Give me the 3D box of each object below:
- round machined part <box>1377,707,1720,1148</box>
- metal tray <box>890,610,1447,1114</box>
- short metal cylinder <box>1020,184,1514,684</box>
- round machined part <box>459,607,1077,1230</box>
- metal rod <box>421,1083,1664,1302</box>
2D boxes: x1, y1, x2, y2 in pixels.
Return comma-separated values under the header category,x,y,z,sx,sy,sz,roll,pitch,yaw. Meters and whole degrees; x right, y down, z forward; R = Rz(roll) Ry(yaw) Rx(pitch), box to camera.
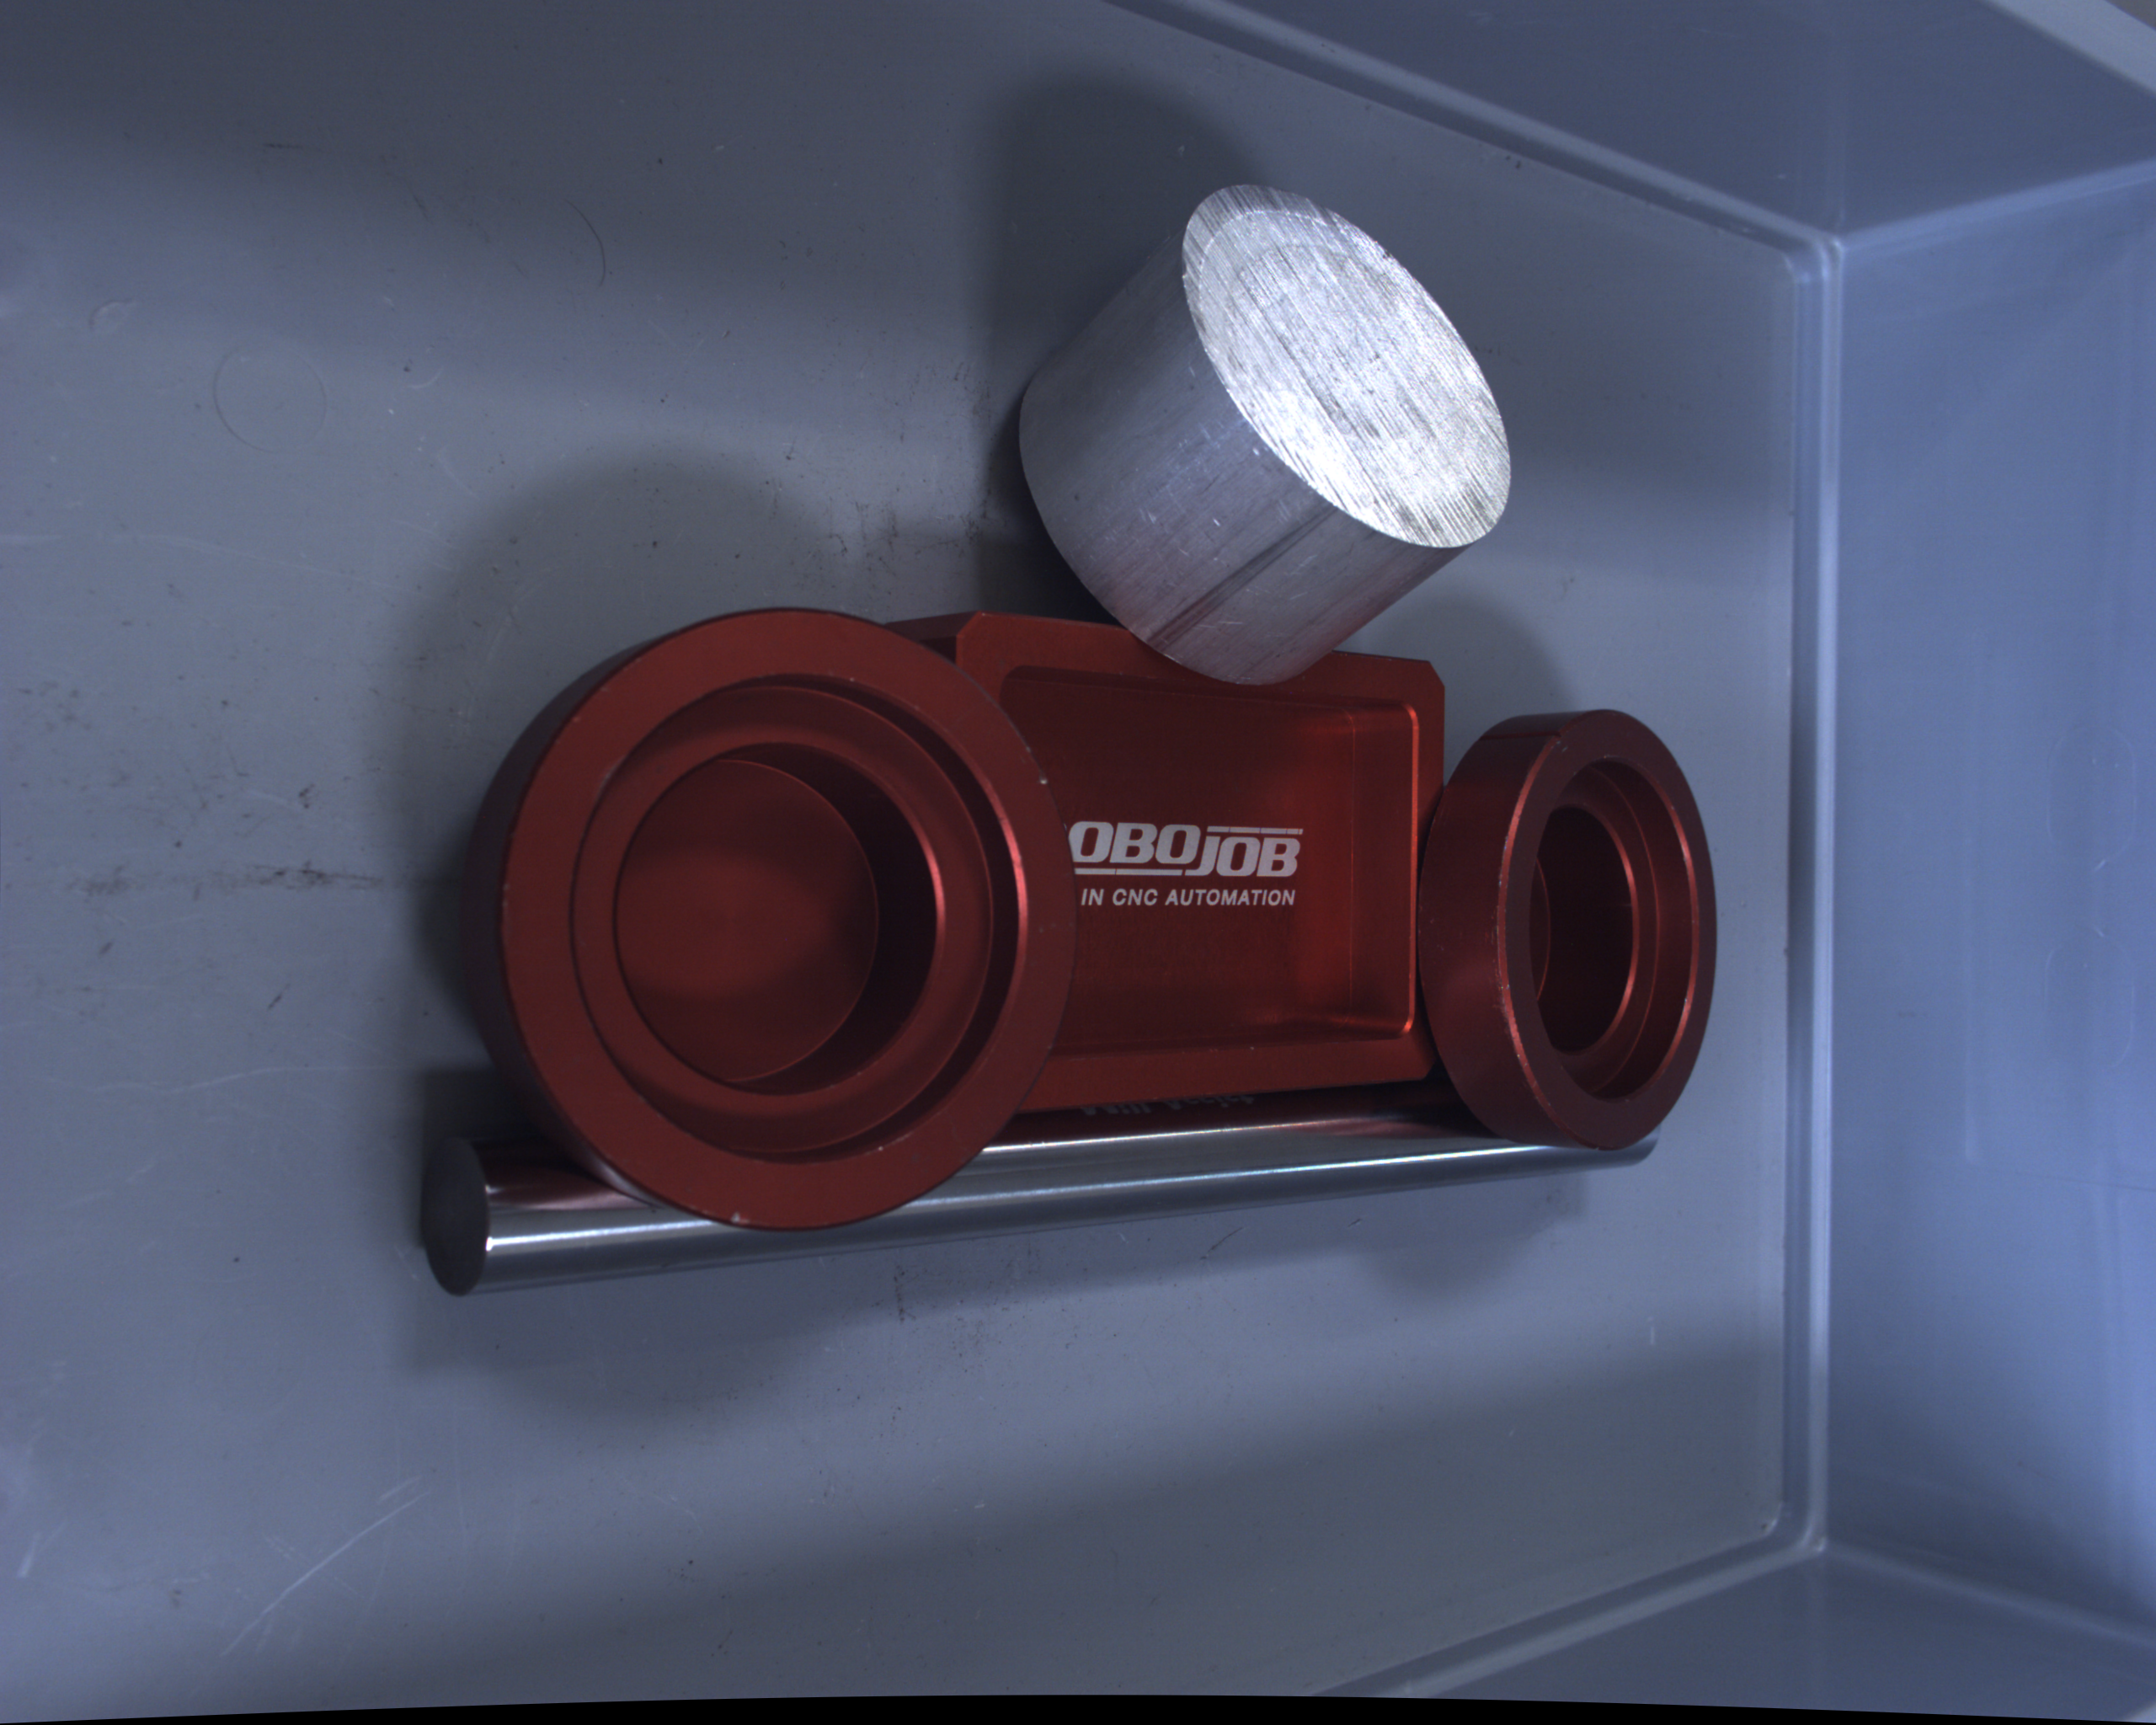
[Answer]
category,x,y,z,sx,sy,sz,roll,pitch,yaw
round machined part,0.104,0.015,0.475,0.099,0.042,0.097,2,87,-47
metal tray,0.020,0.001,0.417,0.131,0.030,0.089,1,90,-40
short metal cylinder,0.036,-0.081,0.399,0.080,0.050,0.080,21,52,-29
round machined part,-0.053,0.009,0.343,0.099,0.042,0.097,2,87,-32
metal rod,0.019,0.059,0.420,0.302,0.025,0.025,2,89,-40
